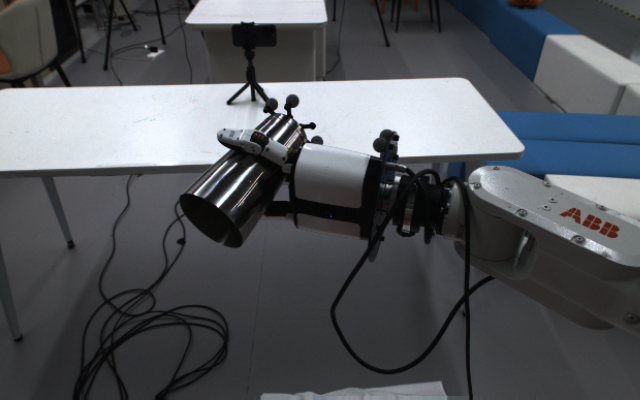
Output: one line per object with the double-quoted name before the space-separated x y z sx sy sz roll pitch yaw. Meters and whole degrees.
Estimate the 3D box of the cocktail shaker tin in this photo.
"cocktail shaker tin" -0.084 -0.036 0.610 0.093 0.093 0.170 19 55 22
